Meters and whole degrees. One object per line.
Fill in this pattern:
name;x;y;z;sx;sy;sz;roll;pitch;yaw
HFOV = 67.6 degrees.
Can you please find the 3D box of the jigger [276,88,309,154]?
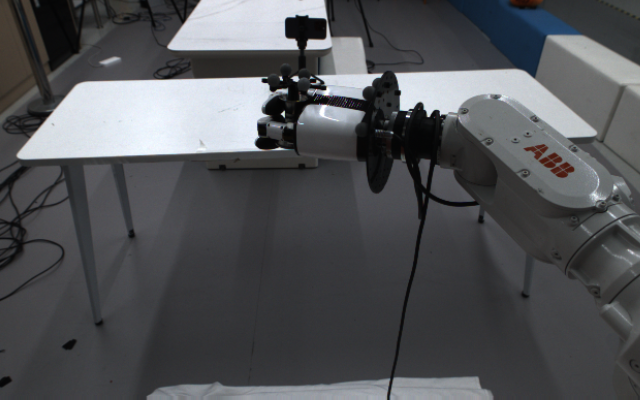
jigger;-0.038;-0.110;0.674;0.043;0.071;0.043;5;26;-3
